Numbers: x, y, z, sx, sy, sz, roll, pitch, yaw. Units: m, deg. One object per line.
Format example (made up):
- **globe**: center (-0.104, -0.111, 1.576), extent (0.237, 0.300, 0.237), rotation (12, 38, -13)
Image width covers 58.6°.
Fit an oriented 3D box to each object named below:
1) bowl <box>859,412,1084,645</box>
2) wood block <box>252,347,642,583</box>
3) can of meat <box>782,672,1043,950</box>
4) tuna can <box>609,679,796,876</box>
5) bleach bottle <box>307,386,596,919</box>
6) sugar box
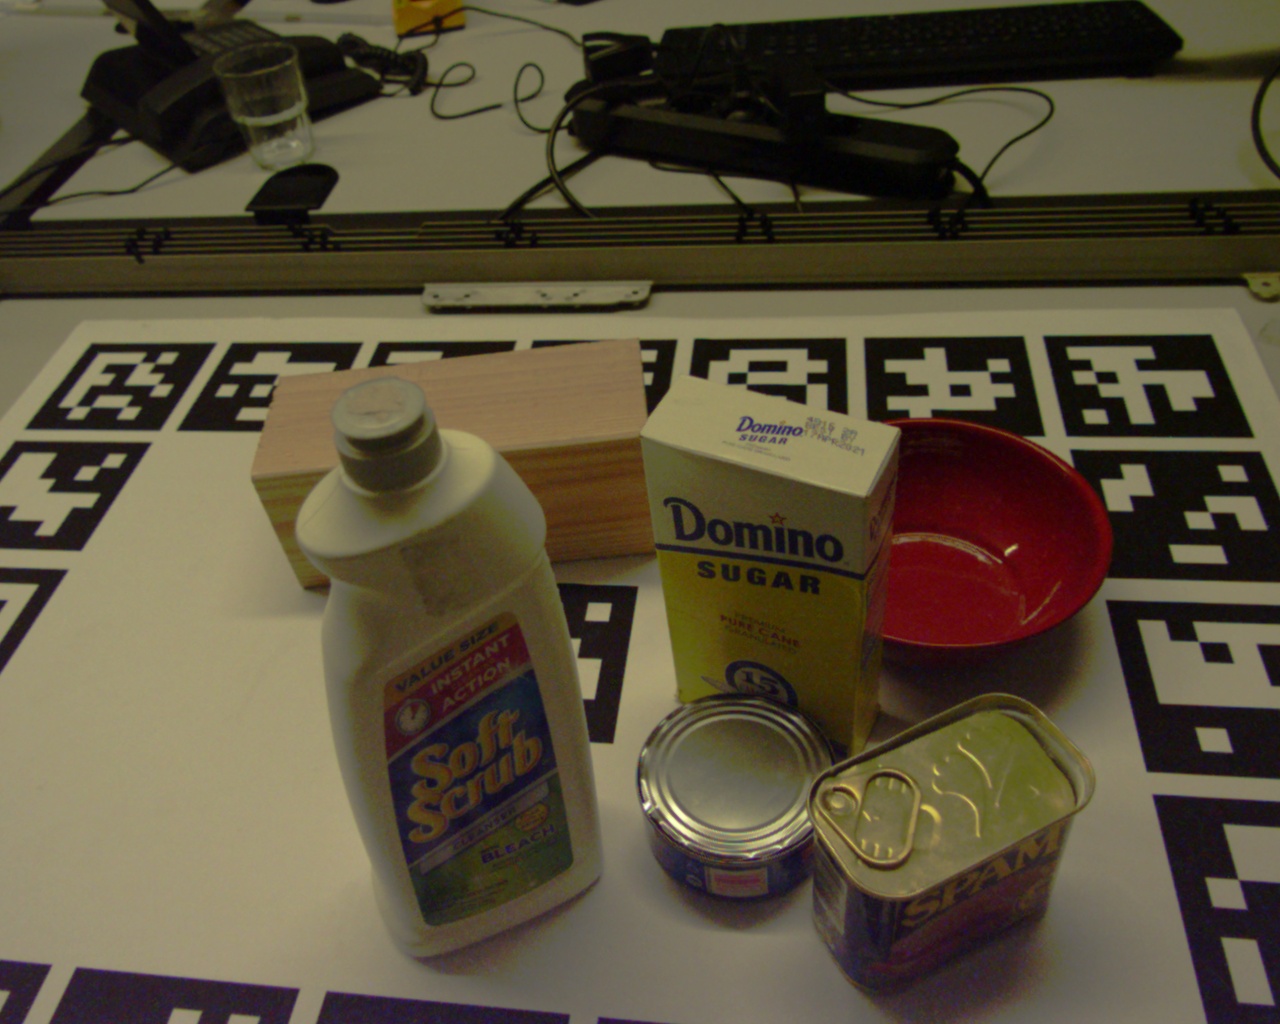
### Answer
- **bowl**: center (0.146, 0.017, 0.604), extent (0.162, 0.055, 0.162), rotation (-7, 42, 6)
- **wood block**: center (-0.107, -0.028, 0.669), extent (0.206, 0.089, 0.091), rotation (-5, 47, 2)
- **can of meat**: center (0.111, 0.127, 0.478), extent (0.101, 0.083, 0.058), rotation (-20, 41, -14)
- **tuna can**: center (0.030, 0.121, 0.523), extent (0.086, 0.033, 0.086), rotation (-5, 46, 5)
- **bleach bottle**: center (-0.080, 0.061, 0.451), extent (0.102, 0.249, 0.068), rotation (-17, 43, -10)
- **sugar box**: center (0.053, 0.028, 0.515), extent (0.094, 0.175, 0.045), rotation (14, 49, 26)
